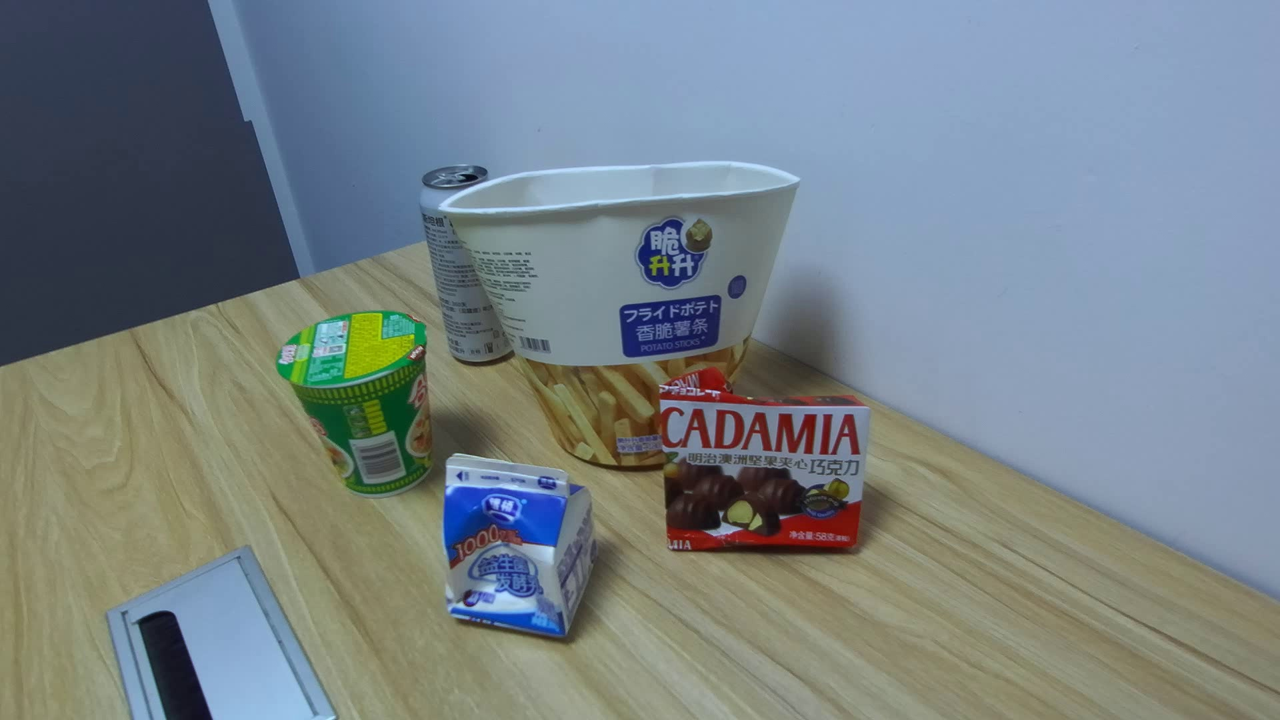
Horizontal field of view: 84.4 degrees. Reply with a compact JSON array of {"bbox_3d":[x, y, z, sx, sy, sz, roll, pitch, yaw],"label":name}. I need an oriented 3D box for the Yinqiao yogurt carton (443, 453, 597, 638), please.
[{"bbox_3d":[-0.071,0.099,0.416,0.077,0.094,0.071,6,27,11],"label":"Yinqiao yogurt carton"}]

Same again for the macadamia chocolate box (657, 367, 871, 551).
[{"bbox_3d":[0.076,0.063,0.443,0.126,0.112,0.056,1,32,5],"label":"macadamia chocolate box"}]

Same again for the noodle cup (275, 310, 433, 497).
[{"bbox_3d":[-0.192,0.036,0.504,0.097,0.110,0.097,-1,32,1],"label":"noodle cup"}]

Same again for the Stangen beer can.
[{"bbox_3d":[-0.150,-0.081,0.631,0.067,0.171,0.067,-2,30,1],"label":"Stangen beer can"}]

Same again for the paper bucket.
[{"bbox_3d":[-0.008,-0.040,0.525,0.219,0.199,0.147,-22,37,-28],"label":"paper bucket"}]
